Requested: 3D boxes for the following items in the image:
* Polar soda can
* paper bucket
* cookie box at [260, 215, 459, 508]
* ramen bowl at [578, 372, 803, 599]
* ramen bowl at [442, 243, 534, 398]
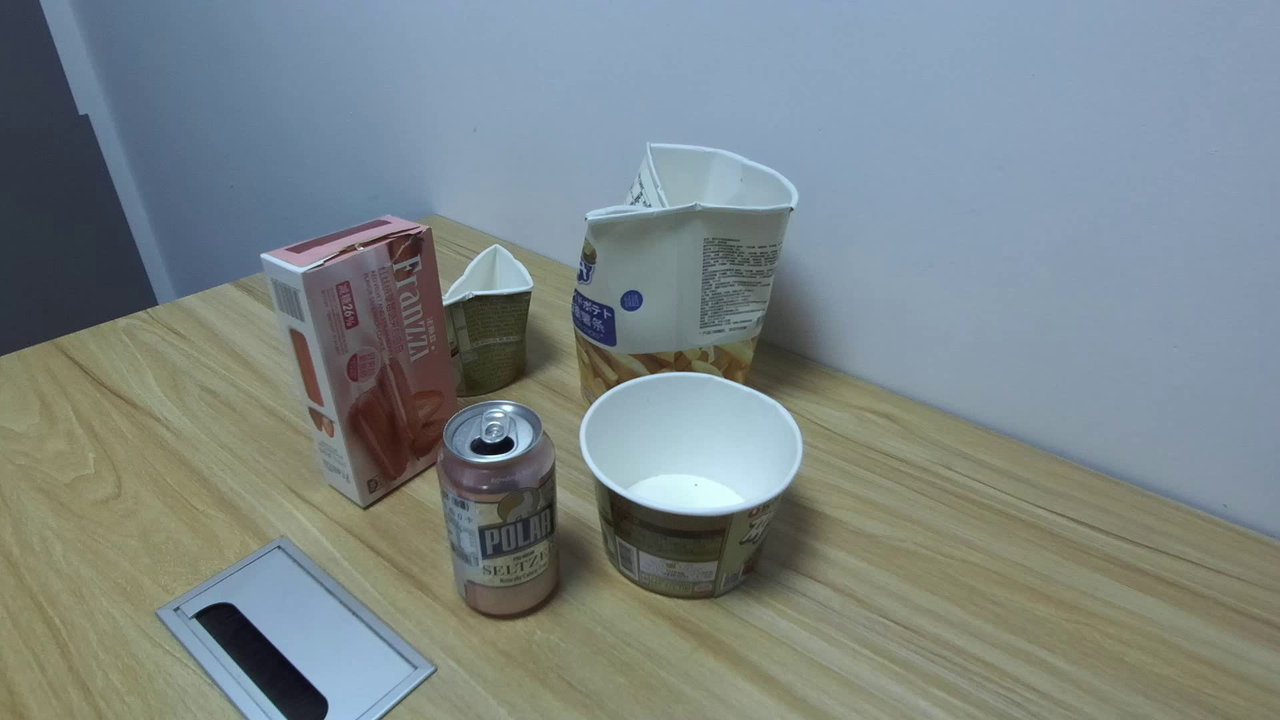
[{"bbox_3d":[-0.083,0.090,0.424,0.067,0.125,0.067,2,32,-1],"label":"Polar soda can"},{"bbox_3d":[0.022,-0.062,0.600,0.169,0.202,0.162,-4,32,-14],"label":"paper bucket"},{"bbox_3d":[-0.182,-0.001,0.499,0.048,0.188,0.105,21,37,31],"label":"cookie box"},{"bbox_3d":[0.032,0.085,0.467,0.140,0.095,0.140,1,31,0],"label":"ramen bowl"},{"bbox_3d":[-0.167,-0.035,0.640,0.129,0.093,0.111,-16,39,-27],"label":"ramen bowl"}]
